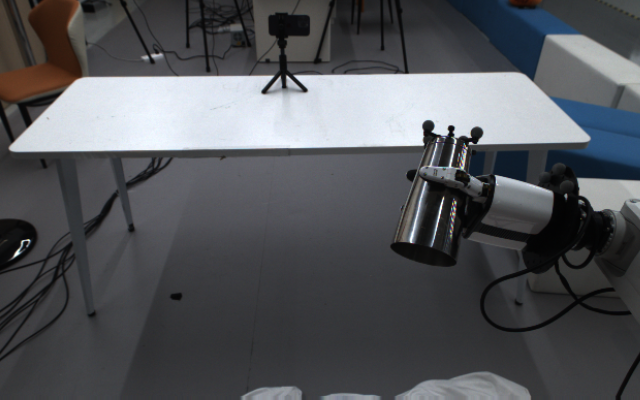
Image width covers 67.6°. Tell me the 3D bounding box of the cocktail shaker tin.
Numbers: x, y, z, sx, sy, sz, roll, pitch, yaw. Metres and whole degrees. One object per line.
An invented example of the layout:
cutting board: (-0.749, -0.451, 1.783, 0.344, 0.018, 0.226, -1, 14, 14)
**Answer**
cocktail shaker tin: (0.166, -0.002, 0.686, 0.093, 0.093, 0.170, 13, 70, 15)
